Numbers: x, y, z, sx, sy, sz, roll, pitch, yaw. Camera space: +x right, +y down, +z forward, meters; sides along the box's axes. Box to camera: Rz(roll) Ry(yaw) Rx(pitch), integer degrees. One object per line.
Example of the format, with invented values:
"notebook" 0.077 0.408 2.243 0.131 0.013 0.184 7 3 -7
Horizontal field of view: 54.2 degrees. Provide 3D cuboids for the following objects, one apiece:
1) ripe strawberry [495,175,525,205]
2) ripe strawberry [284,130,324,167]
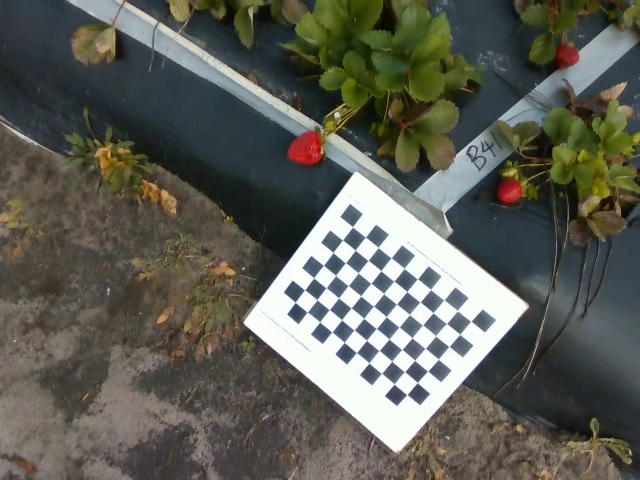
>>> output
"ripe strawberry" 0.240 -0.057 0.773 0.047 0.038 0.030 -36 -4 -40
"ripe strawberry" -0.020 -0.113 0.778 0.052 0.048 0.030 -15 5 -11
